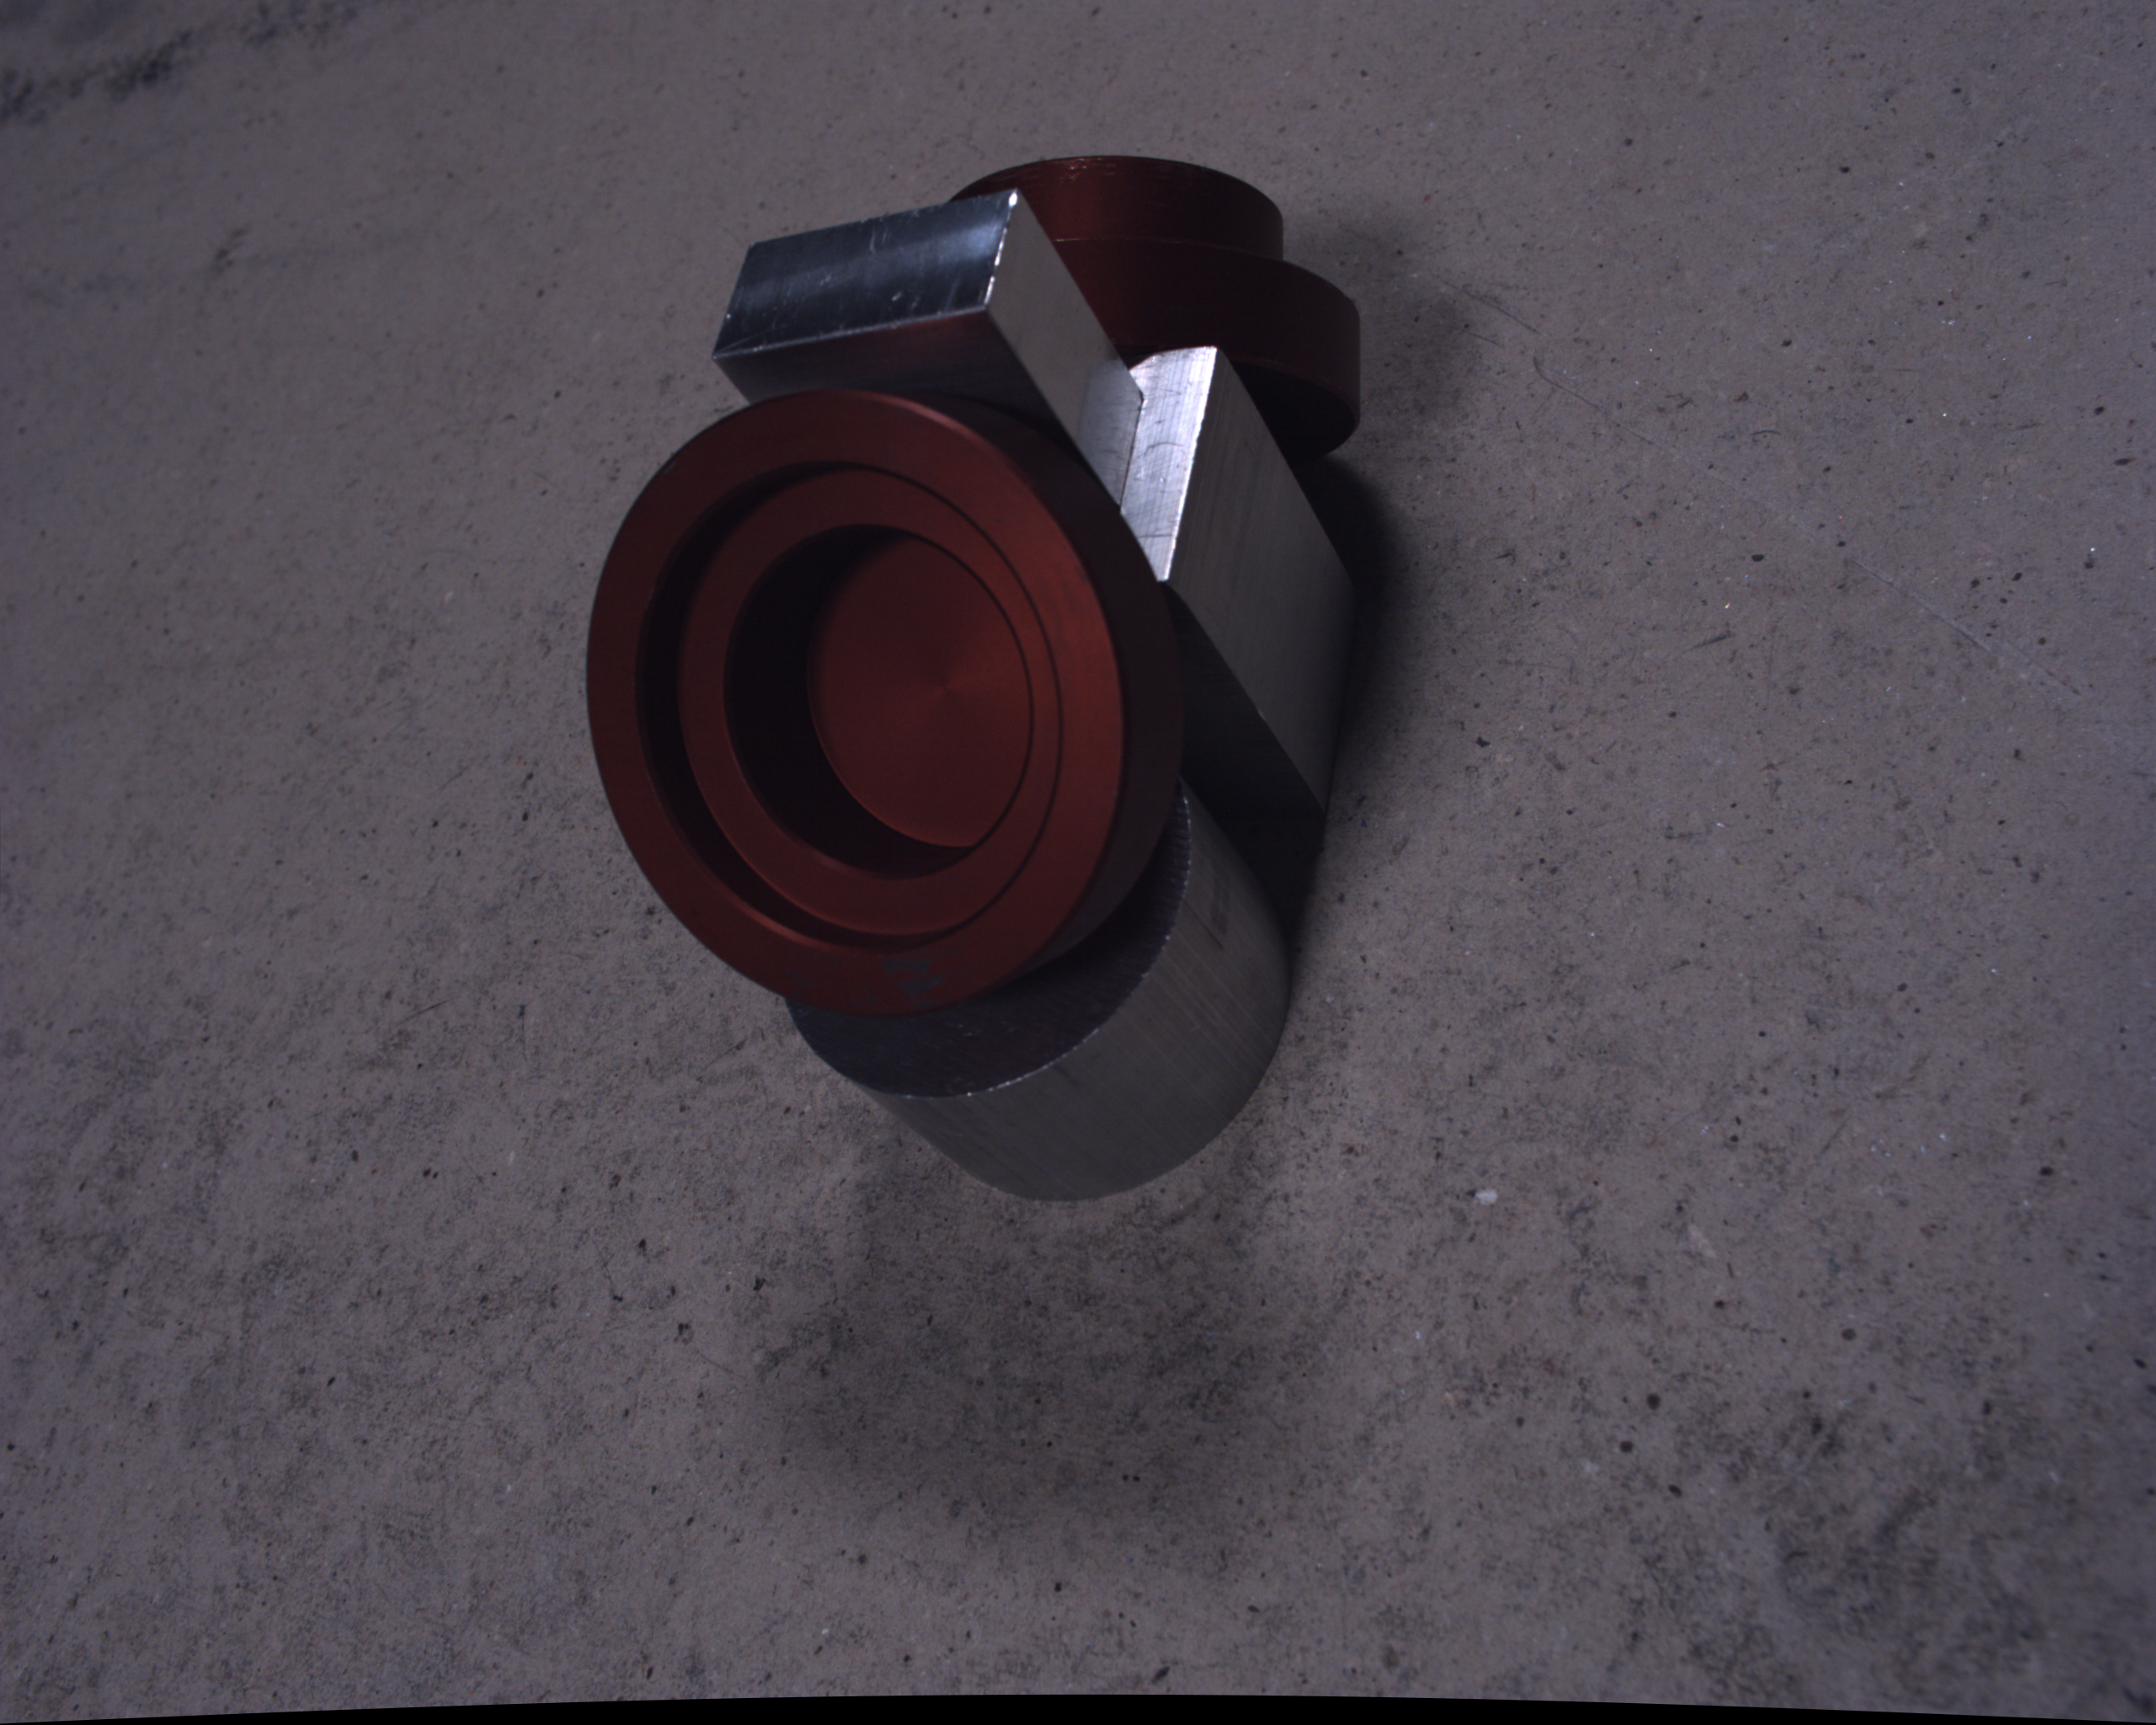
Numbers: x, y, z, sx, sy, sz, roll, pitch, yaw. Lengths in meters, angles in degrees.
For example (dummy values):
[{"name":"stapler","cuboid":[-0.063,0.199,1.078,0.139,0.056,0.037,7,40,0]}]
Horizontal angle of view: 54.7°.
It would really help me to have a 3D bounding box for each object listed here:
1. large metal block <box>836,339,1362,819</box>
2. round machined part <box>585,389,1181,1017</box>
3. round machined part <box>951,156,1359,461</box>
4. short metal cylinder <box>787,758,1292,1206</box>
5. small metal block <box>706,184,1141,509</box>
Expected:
[{"name":"large metal block","cuboid":[0.000,-0.049,0.398,0.080,0.080,0.050,-2,61,27]},{"name":"round machined part","cuboid":[-0.028,-0.027,0.339,0.098,0.042,0.097,6,103,26]},{"name":"round machined part","cuboid":[0.006,-0.107,0.415,0.098,0.098,0.042,-2,86,27]},{"name":"short metal cylinder","cuboid":[-0.007,0.017,0.383,0.080,0.050,0.080,-13,56,20]},{"name":"small metal block","cuboid":[-0.024,-0.081,0.347,0.050,0.050,0.025,-3,60,27]}]
